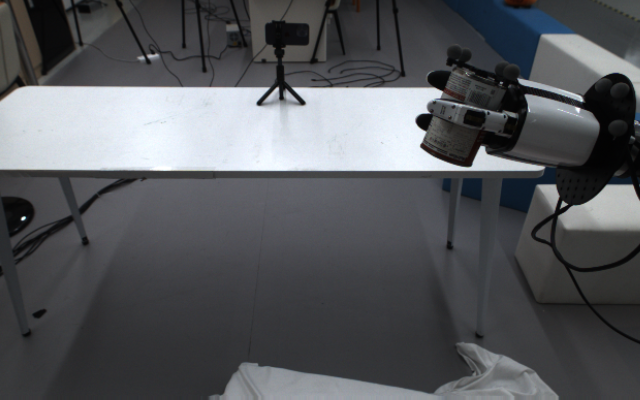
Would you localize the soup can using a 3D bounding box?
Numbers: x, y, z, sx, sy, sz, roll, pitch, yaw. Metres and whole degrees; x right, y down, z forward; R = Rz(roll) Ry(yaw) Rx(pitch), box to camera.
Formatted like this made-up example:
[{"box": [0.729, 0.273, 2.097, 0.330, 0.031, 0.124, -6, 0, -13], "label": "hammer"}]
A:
[{"box": [0.173, -0.100, 0.584, 0.067, 0.101, 0.067, 17, 21, -7], "label": "soup can"}]
